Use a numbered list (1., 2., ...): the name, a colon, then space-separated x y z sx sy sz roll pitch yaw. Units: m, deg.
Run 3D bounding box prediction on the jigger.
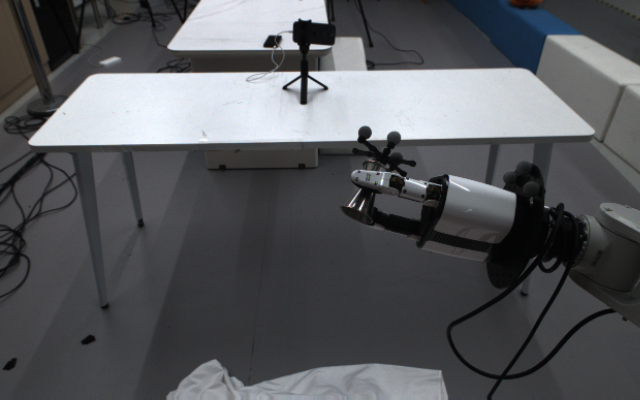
1. jigger: 0.058 -0.013 0.598 0.043 0.043 0.071 19 72 23
